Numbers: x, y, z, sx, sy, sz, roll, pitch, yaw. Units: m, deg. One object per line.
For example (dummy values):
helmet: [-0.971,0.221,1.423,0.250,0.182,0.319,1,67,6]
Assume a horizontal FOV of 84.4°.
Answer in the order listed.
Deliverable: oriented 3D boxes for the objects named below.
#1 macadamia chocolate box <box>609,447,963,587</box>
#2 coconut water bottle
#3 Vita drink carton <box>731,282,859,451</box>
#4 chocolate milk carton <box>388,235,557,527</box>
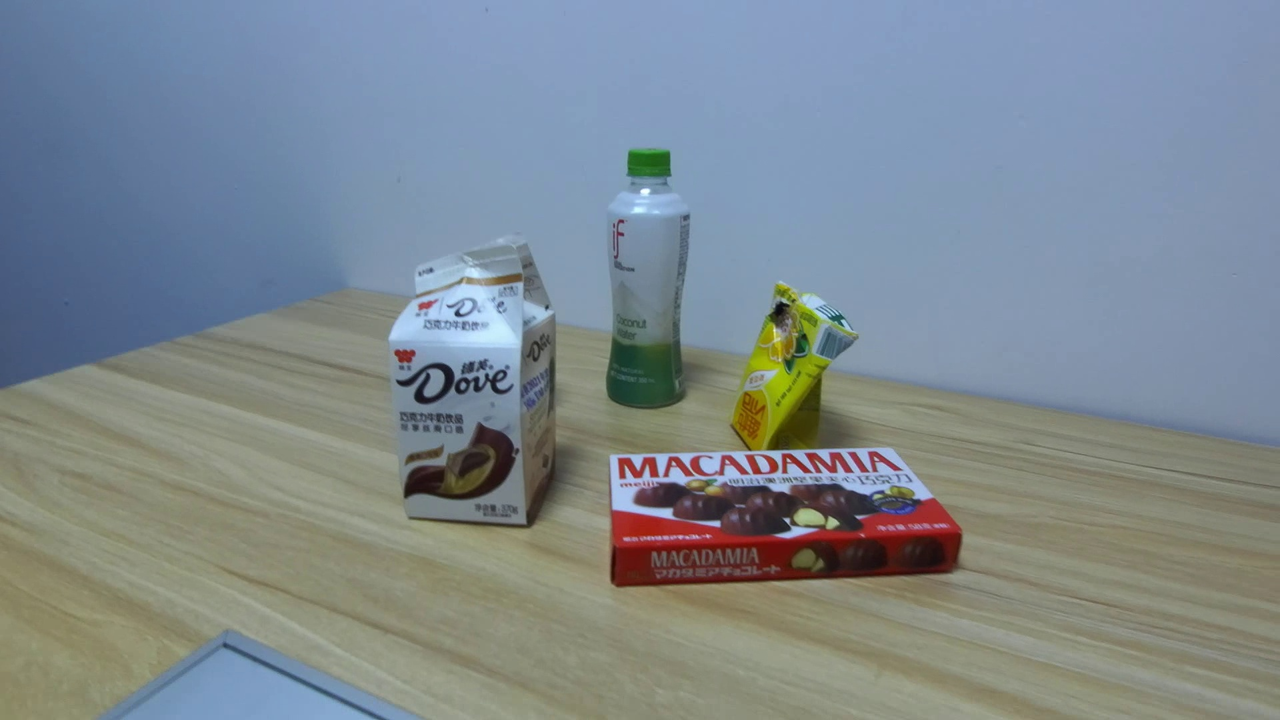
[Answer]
macadamia chocolate box: [0.072,0.084,0.395,0.178,0.027,0.095,-1,20,-4]
coconut water bottle: [0.006,-0.060,0.533,0.063,0.188,0.063,1,19,0]
Vita drink carton: [0.104,0.010,0.476,0.042,0.108,0.086,9,20,-18]
chocolate milk carton: [-0.091,0.008,0.404,0.076,0.155,0.073,3,20,6]
